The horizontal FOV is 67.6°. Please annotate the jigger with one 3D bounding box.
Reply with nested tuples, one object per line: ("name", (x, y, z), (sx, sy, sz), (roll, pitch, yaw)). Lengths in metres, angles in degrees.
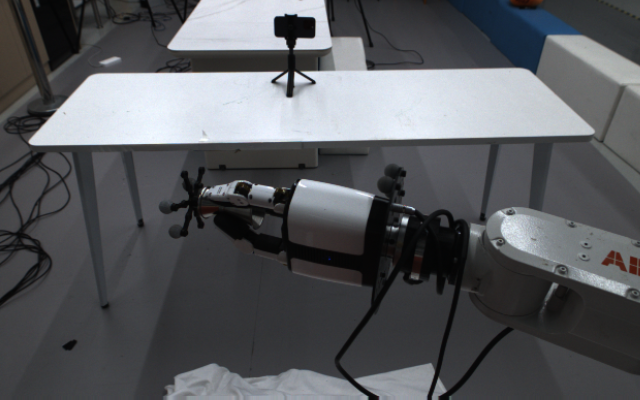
("jigger", (-0.096, 0.003, 0.564), (0.071, 0.043, 0.043), (8, 35, 15))
